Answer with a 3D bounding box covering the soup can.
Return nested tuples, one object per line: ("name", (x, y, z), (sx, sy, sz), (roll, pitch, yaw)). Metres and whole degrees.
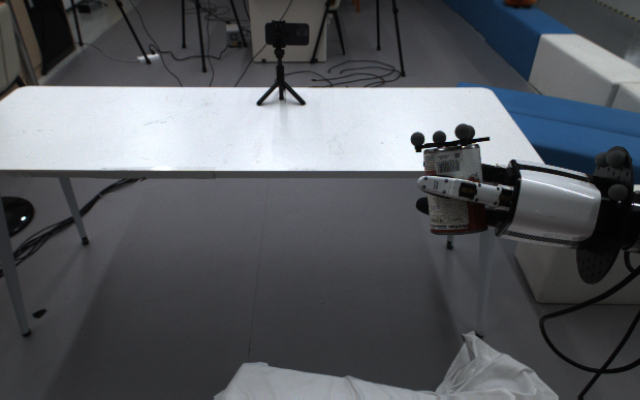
("soup can", (0.165, -0.014, 0.587), (0.067, 0.101, 0.067), (-6, 3, 0))
